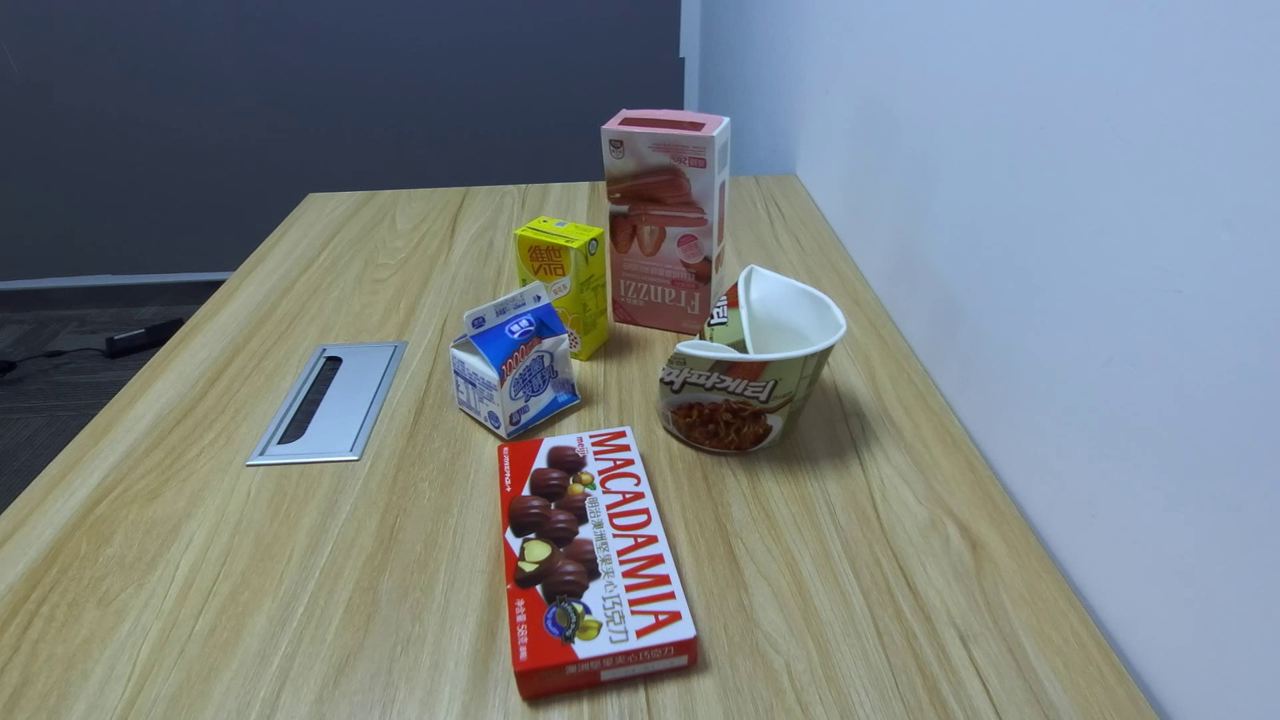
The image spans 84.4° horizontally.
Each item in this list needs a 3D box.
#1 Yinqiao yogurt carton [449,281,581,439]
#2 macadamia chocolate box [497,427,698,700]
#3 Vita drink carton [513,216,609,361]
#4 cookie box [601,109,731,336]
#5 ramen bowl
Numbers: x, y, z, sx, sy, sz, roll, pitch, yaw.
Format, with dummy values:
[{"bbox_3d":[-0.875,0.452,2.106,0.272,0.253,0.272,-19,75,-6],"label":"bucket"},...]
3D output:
[{"bbox_3d":[-0.096,-0.004,0.536,0.078,0.094,0.070,-27,36,-34],"label":"Yinqiao yogurt carton"},{"bbox_3d":[-0.033,0.110,0.428,0.096,0.027,0.177,-7,34,-9],"label":"macadamia chocolate box"},{"bbox_3d":[-0.064,-0.061,0.604,0.066,0.109,0.044,18,38,26],"label":"Vita drink carton"},{"bbox_3d":[0.020,-0.115,0.609,0.105,0.188,0.049,11,36,18],"label":"cookie box"},{"bbox_3d":[0.072,0.004,0.512,0.137,0.098,0.137,-3,36,2],"label":"ramen bowl"}]
